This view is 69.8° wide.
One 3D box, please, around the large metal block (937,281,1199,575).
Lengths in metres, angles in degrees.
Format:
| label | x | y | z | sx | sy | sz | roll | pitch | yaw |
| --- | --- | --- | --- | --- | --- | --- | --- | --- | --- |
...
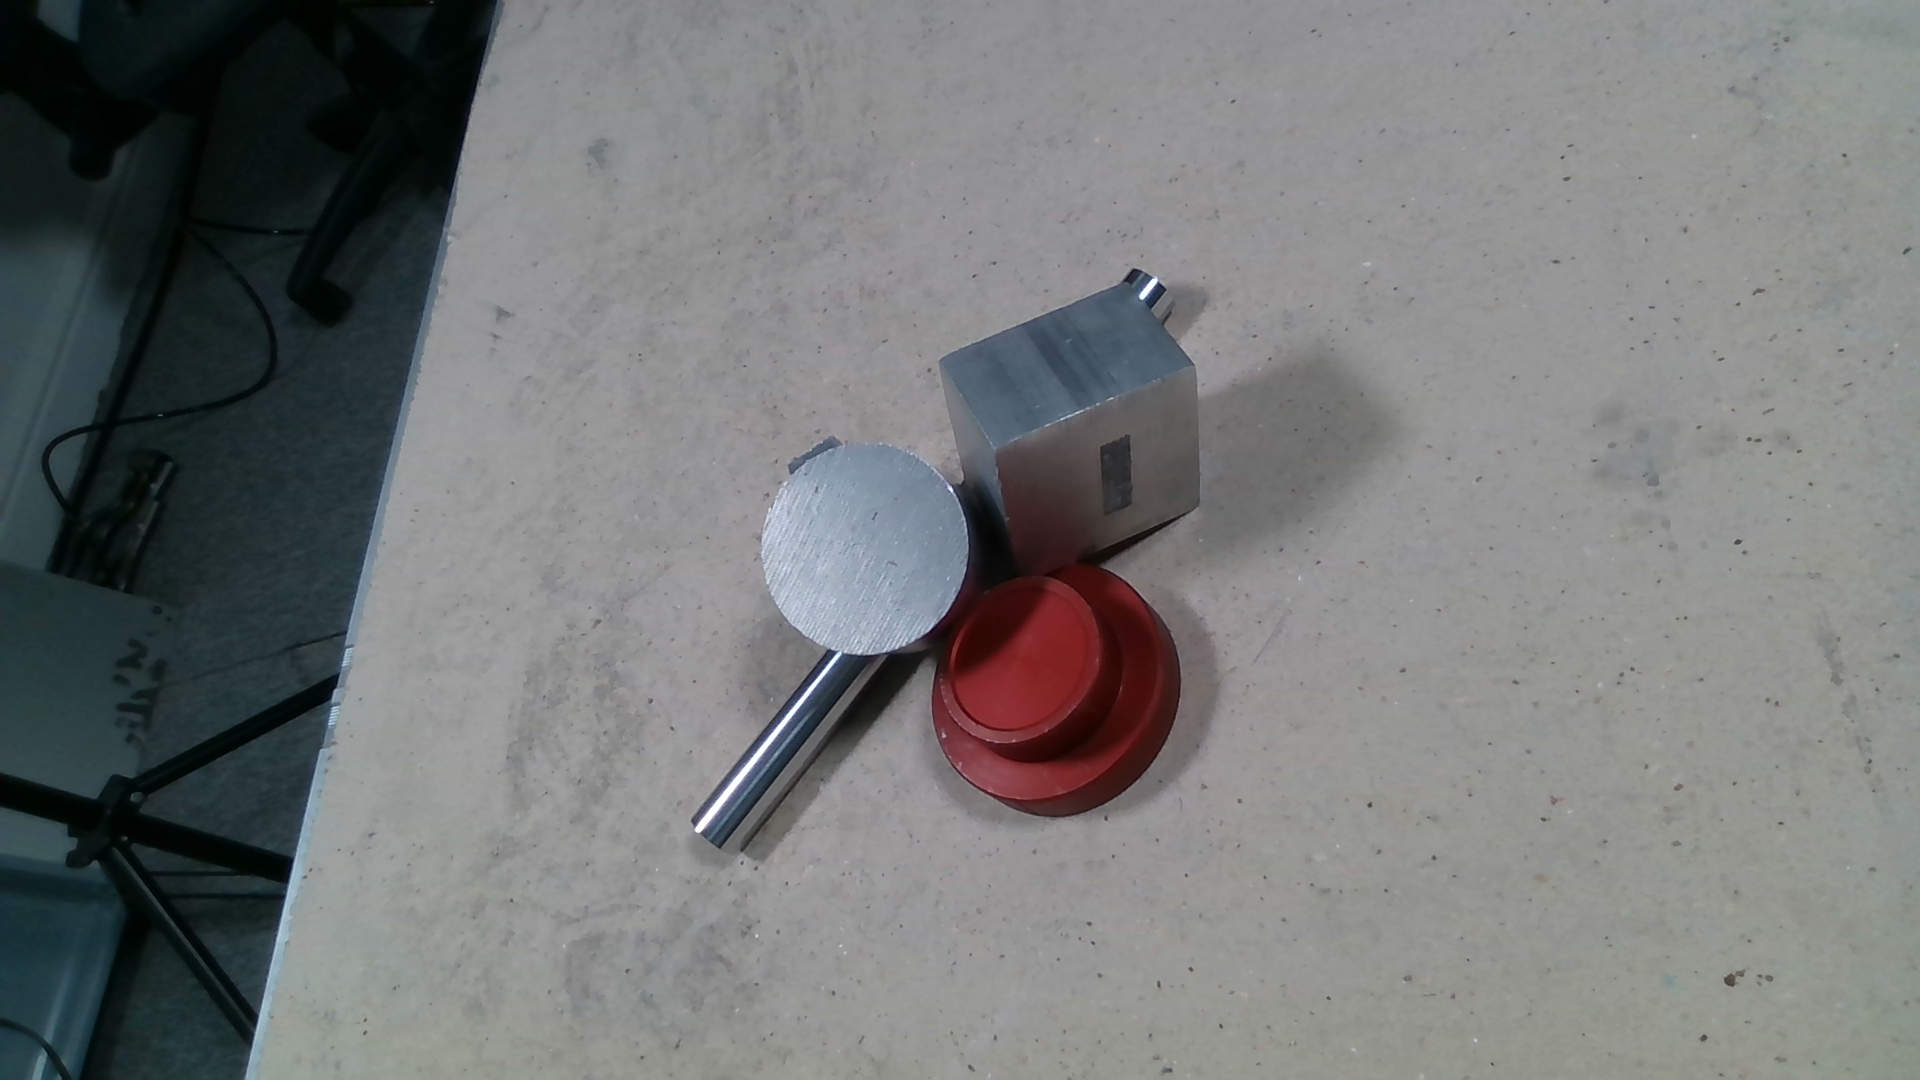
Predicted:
| label | x | y | z | sx | sy | sz | roll | pitch | yaw |
| --- | --- | --- | --- | --- | --- | --- | --- | --- | --- |
| large metal block | 0.044 | -0.040 | 0.531 | 0.080 | 0.080 | 0.050 | -23 | 51 | -8 |

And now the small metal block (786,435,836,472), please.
| label | x | y | z | sx | sy | sz | roll | pitch | yaw |
| --- | --- | --- | --- | --- | --- | --- | --- | --- | --- |
| small metal block | -0.046 | -0.010 | 0.604 | 0.025 | 0.050 | 0.050 | -33 | 53 | 12 |

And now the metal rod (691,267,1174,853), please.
| label | x | y | z | sx | sy | sz | roll | pitch | yaw |
| --- | --- | --- | --- | --- | --- | --- | --- | --- | --- |
| metal rod | -0.011 | 0.008 | 0.589 | 0.300 | 0.025 | 0.025 | -51 | 51 | -2 |

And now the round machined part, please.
| label | x | y | z | sx | sy | sz | roll | pitch | yaw |
| --- | --- | --- | --- | --- | --- | --- | --- | --- | --- |
| round machined part | 0.030 | 0.053 | 0.527 | 0.098 | 0.042 | 0.098 | -14 | 59 | 25 |

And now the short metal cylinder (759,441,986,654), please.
| label | x | y | z | sx | sy | sz | roll | pitch | yaw |
| --- | --- | --- | --- | --- | --- | --- | --- | --- | --- |
| short metal cylinder | -0.032 | 0.005 | 0.539 | 0.080 | 0.050 | 0.080 | -1 | 85 | 10 |
